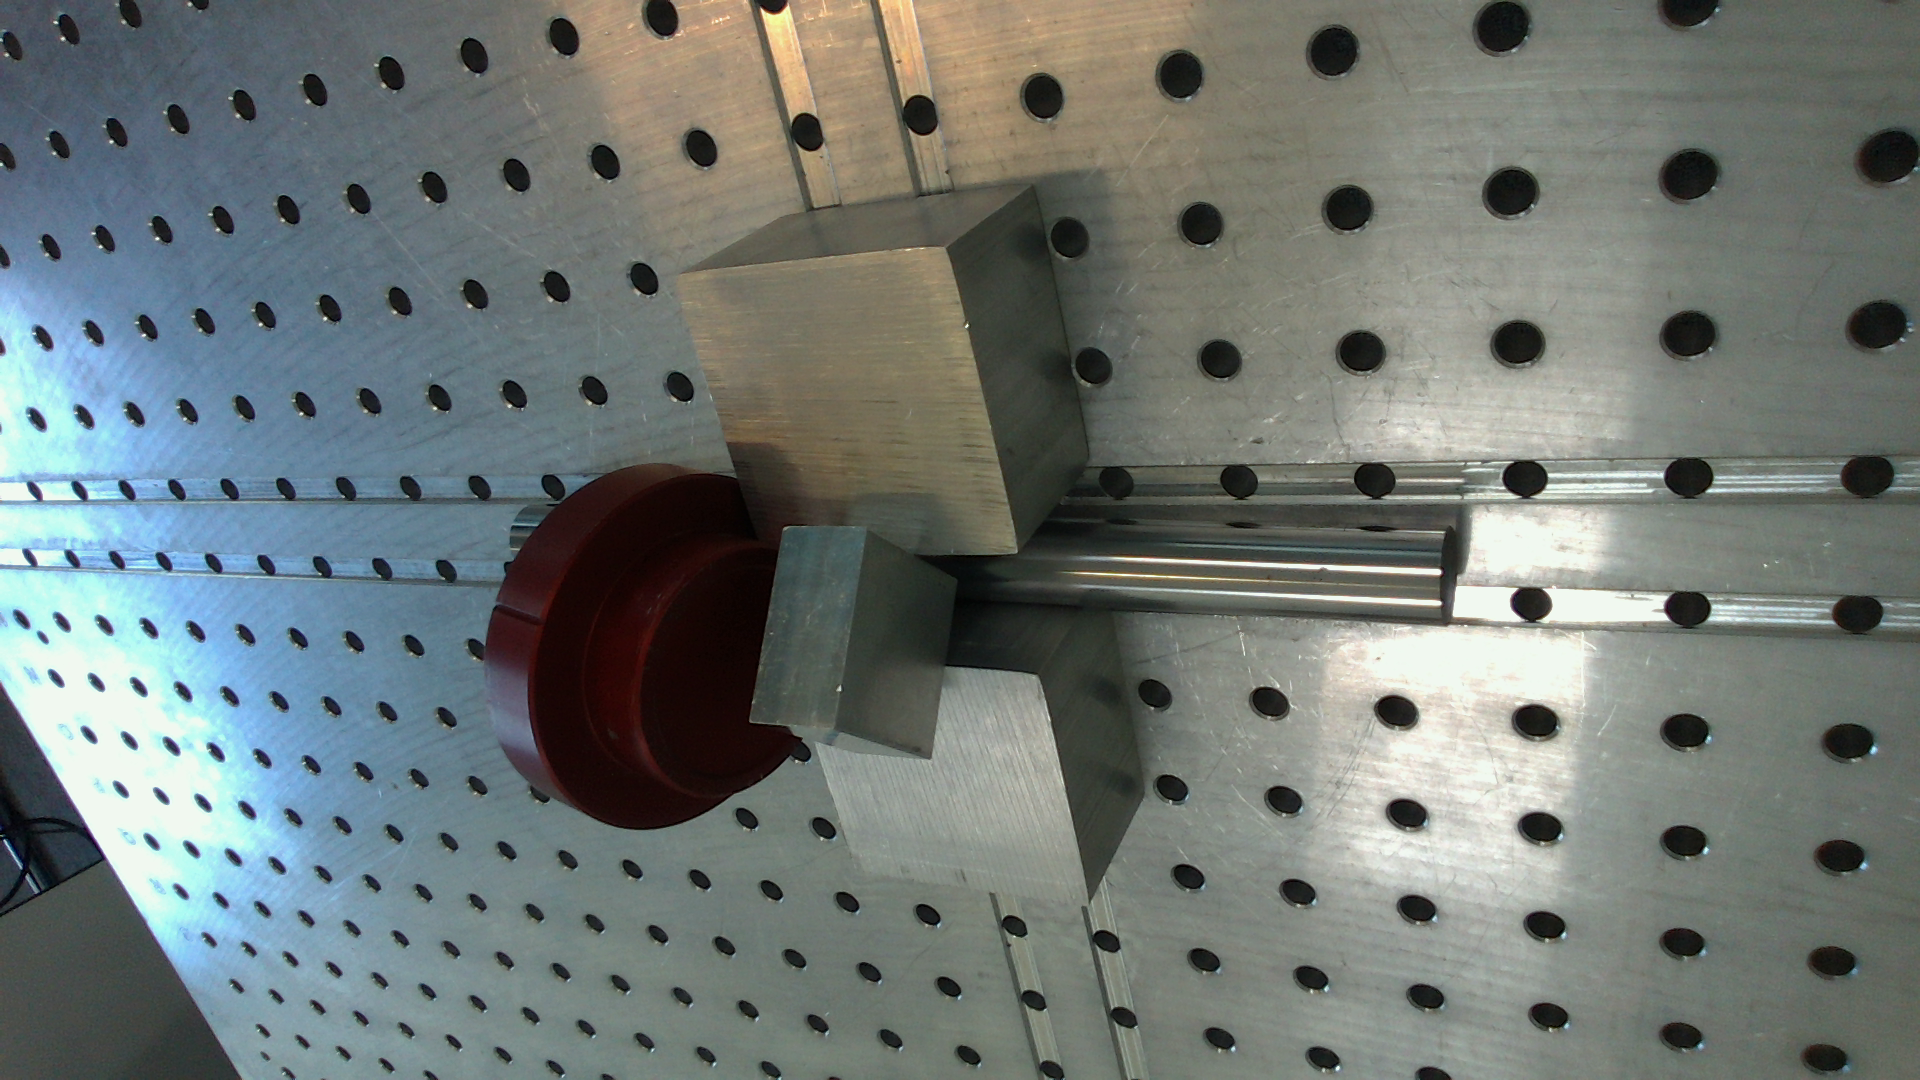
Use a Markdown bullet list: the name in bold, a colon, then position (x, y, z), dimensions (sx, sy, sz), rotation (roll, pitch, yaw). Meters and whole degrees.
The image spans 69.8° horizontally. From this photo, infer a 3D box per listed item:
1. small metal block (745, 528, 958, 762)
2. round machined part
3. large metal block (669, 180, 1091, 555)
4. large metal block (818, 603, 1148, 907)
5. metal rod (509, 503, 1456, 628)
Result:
- **small metal block**: position (-0.026, 0.028, 0.354), dimensions (0.025, 0.050, 0.050), rotation (1, 75, 28)
- **round machined part**: position (-0.073, 0.031, 0.369), dimensions (0.042, 0.098, 0.098), rotation (13, 125, 38)
- **large metal block**: position (-0.018, -0.044, 0.362), dimensions (0.080, 0.050, 0.080), rotation (1, 119, 28)
- **large metal block**: position (0.005, 0.057, 0.413), dimensions (0.080, 0.050, 0.080), rotation (1, 119, 28)
- **metal rod**: position (-0.013, 0.004, 0.405), dimensions (0.299, 0.025, 0.025), rotation (2, 119, 27)
